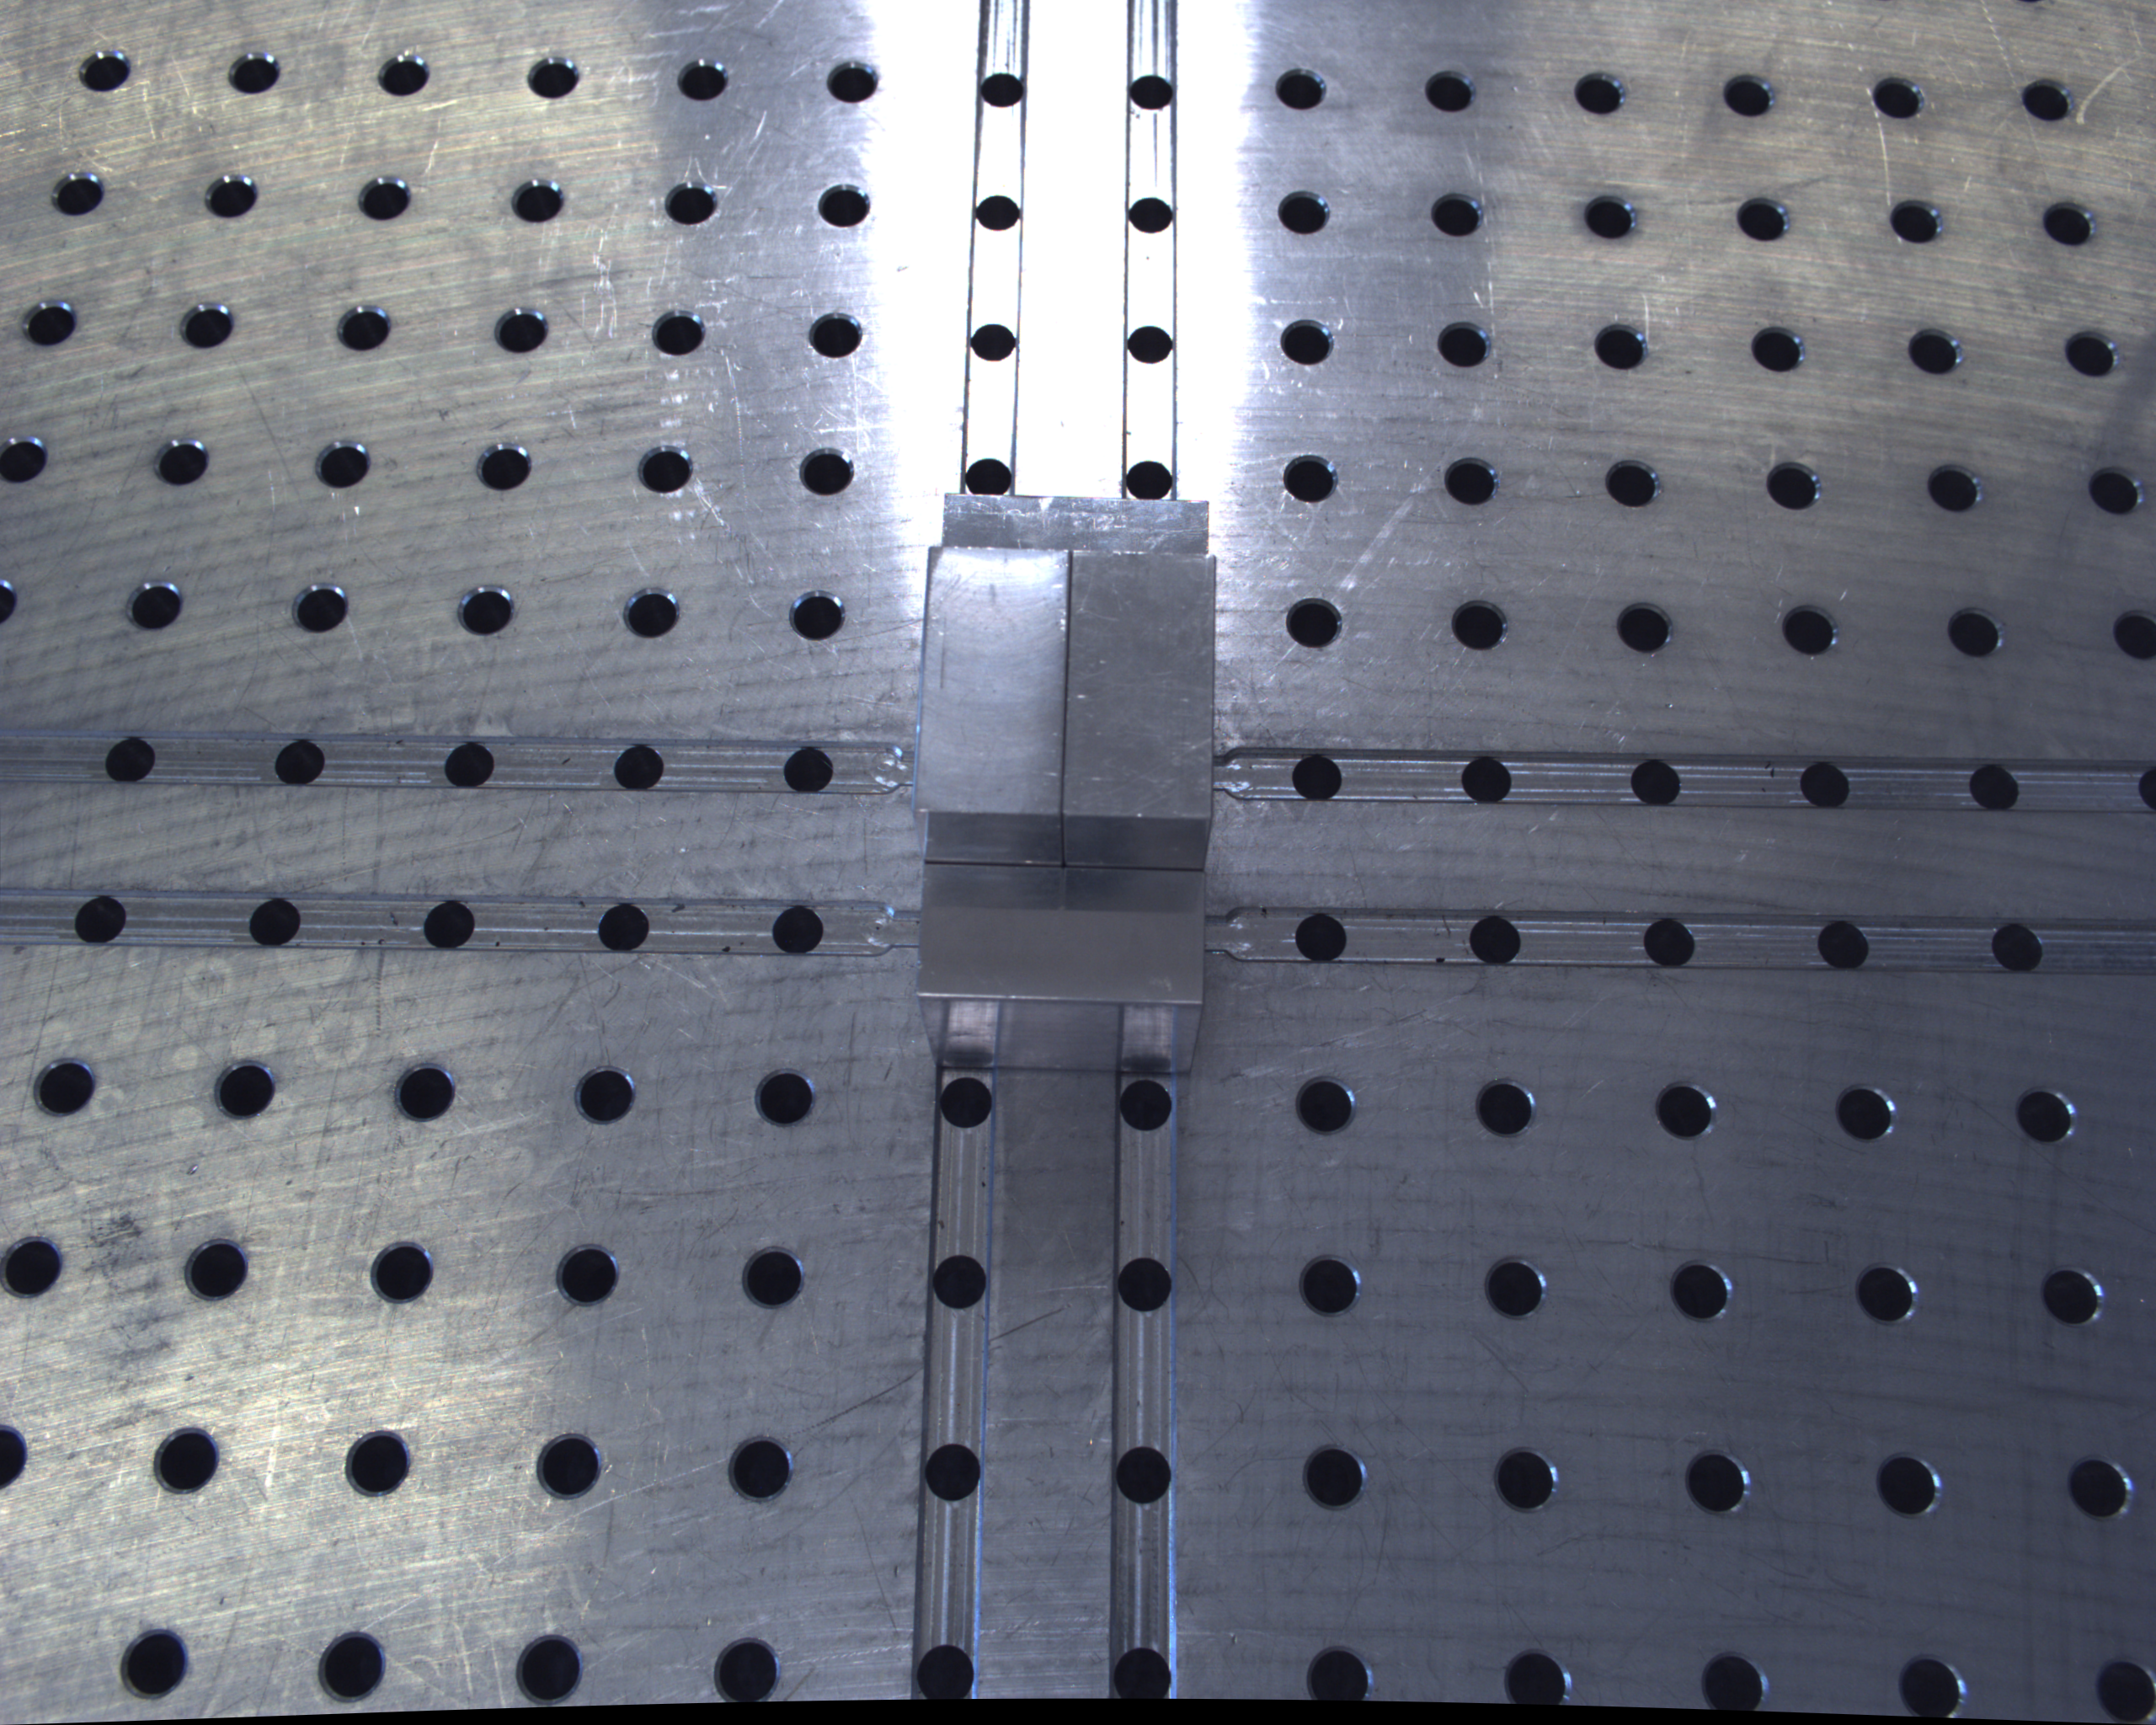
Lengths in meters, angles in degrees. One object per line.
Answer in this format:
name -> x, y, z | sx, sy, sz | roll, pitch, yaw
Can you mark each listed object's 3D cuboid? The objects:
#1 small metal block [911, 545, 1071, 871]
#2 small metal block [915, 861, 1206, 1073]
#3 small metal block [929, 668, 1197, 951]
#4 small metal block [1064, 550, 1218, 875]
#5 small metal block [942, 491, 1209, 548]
small metal block -> -0.015, -0.023, 0.380 | 0.025, 0.050, 0.050 | 2, 70, 1
small metal block -> -0.003, 0.021, 0.391 | 0.050, 0.050, 0.025 | 1, 70, 1
small metal block -> -0.002, -0.010, 0.415 | 0.050, 0.025, 0.050 | 1, 70, 2
small metal block -> 0.012, -0.023, 0.380 | 0.025, 0.050, 0.050 | 1, 70, 2
small metal block -> -0.001, -0.050, 0.416 | 0.050, 0.050, 0.025 | 2, 70, 1
